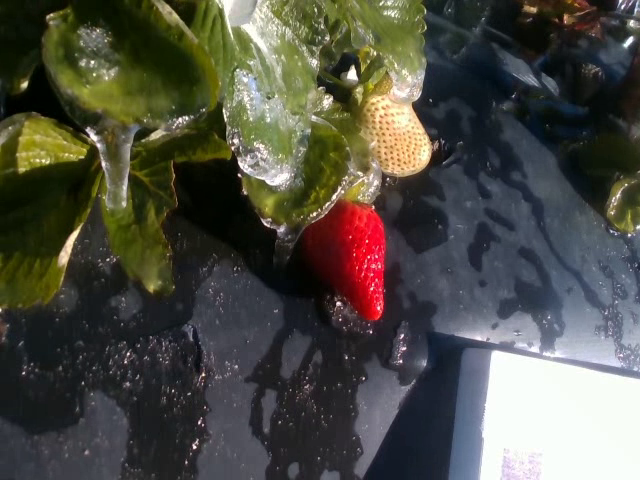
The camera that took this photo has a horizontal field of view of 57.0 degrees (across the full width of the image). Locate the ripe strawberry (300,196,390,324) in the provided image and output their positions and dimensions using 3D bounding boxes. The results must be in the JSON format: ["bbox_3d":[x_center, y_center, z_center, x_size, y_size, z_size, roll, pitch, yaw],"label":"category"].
[{"bbox_3d":[0.020,0.008,0.237,0.041,0.052,0.040,-4,-12,-27],"label":"ripe strawberry"}]
